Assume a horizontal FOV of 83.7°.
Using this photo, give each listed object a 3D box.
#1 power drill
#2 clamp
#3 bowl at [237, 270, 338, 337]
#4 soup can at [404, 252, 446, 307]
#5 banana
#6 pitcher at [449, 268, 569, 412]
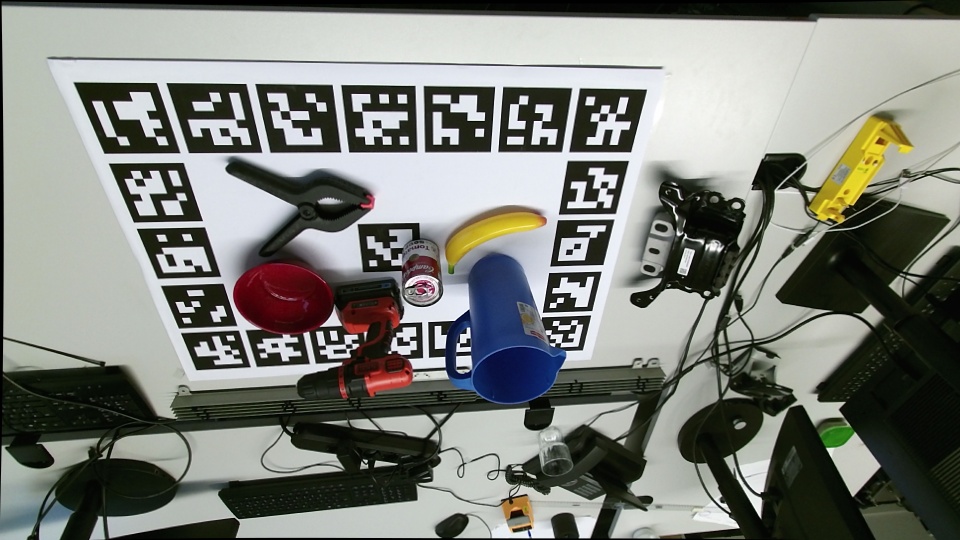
[{"bbox_3d":[-0.206,0.147,0.897,0.185,0.186,0.057,-6,126,-4],"label":"power drill"},{"bbox_3d":[-0.258,-0.076,0.832,0.203,0.036,0.165,-4,123,-6],"label":"clamp"},{"bbox_3d":[-0.323,0.056,0.916,0.162,0.055,0.161,-4,125,-6],"label":"bowl"},{"bbox_3d":[-0.093,0.027,0.904,0.068,0.101,0.068,-5,135,-5],"label":"soup can"},{"bbox_3d":[0.028,-0.037,0.916,0.198,0.038,0.074,-22,135,9],"label":"banana"},{"bbox_3d":[0.034,0.114,0.899,0.189,0.241,0.133,-22,129,7],"label":"pitcher"}]
